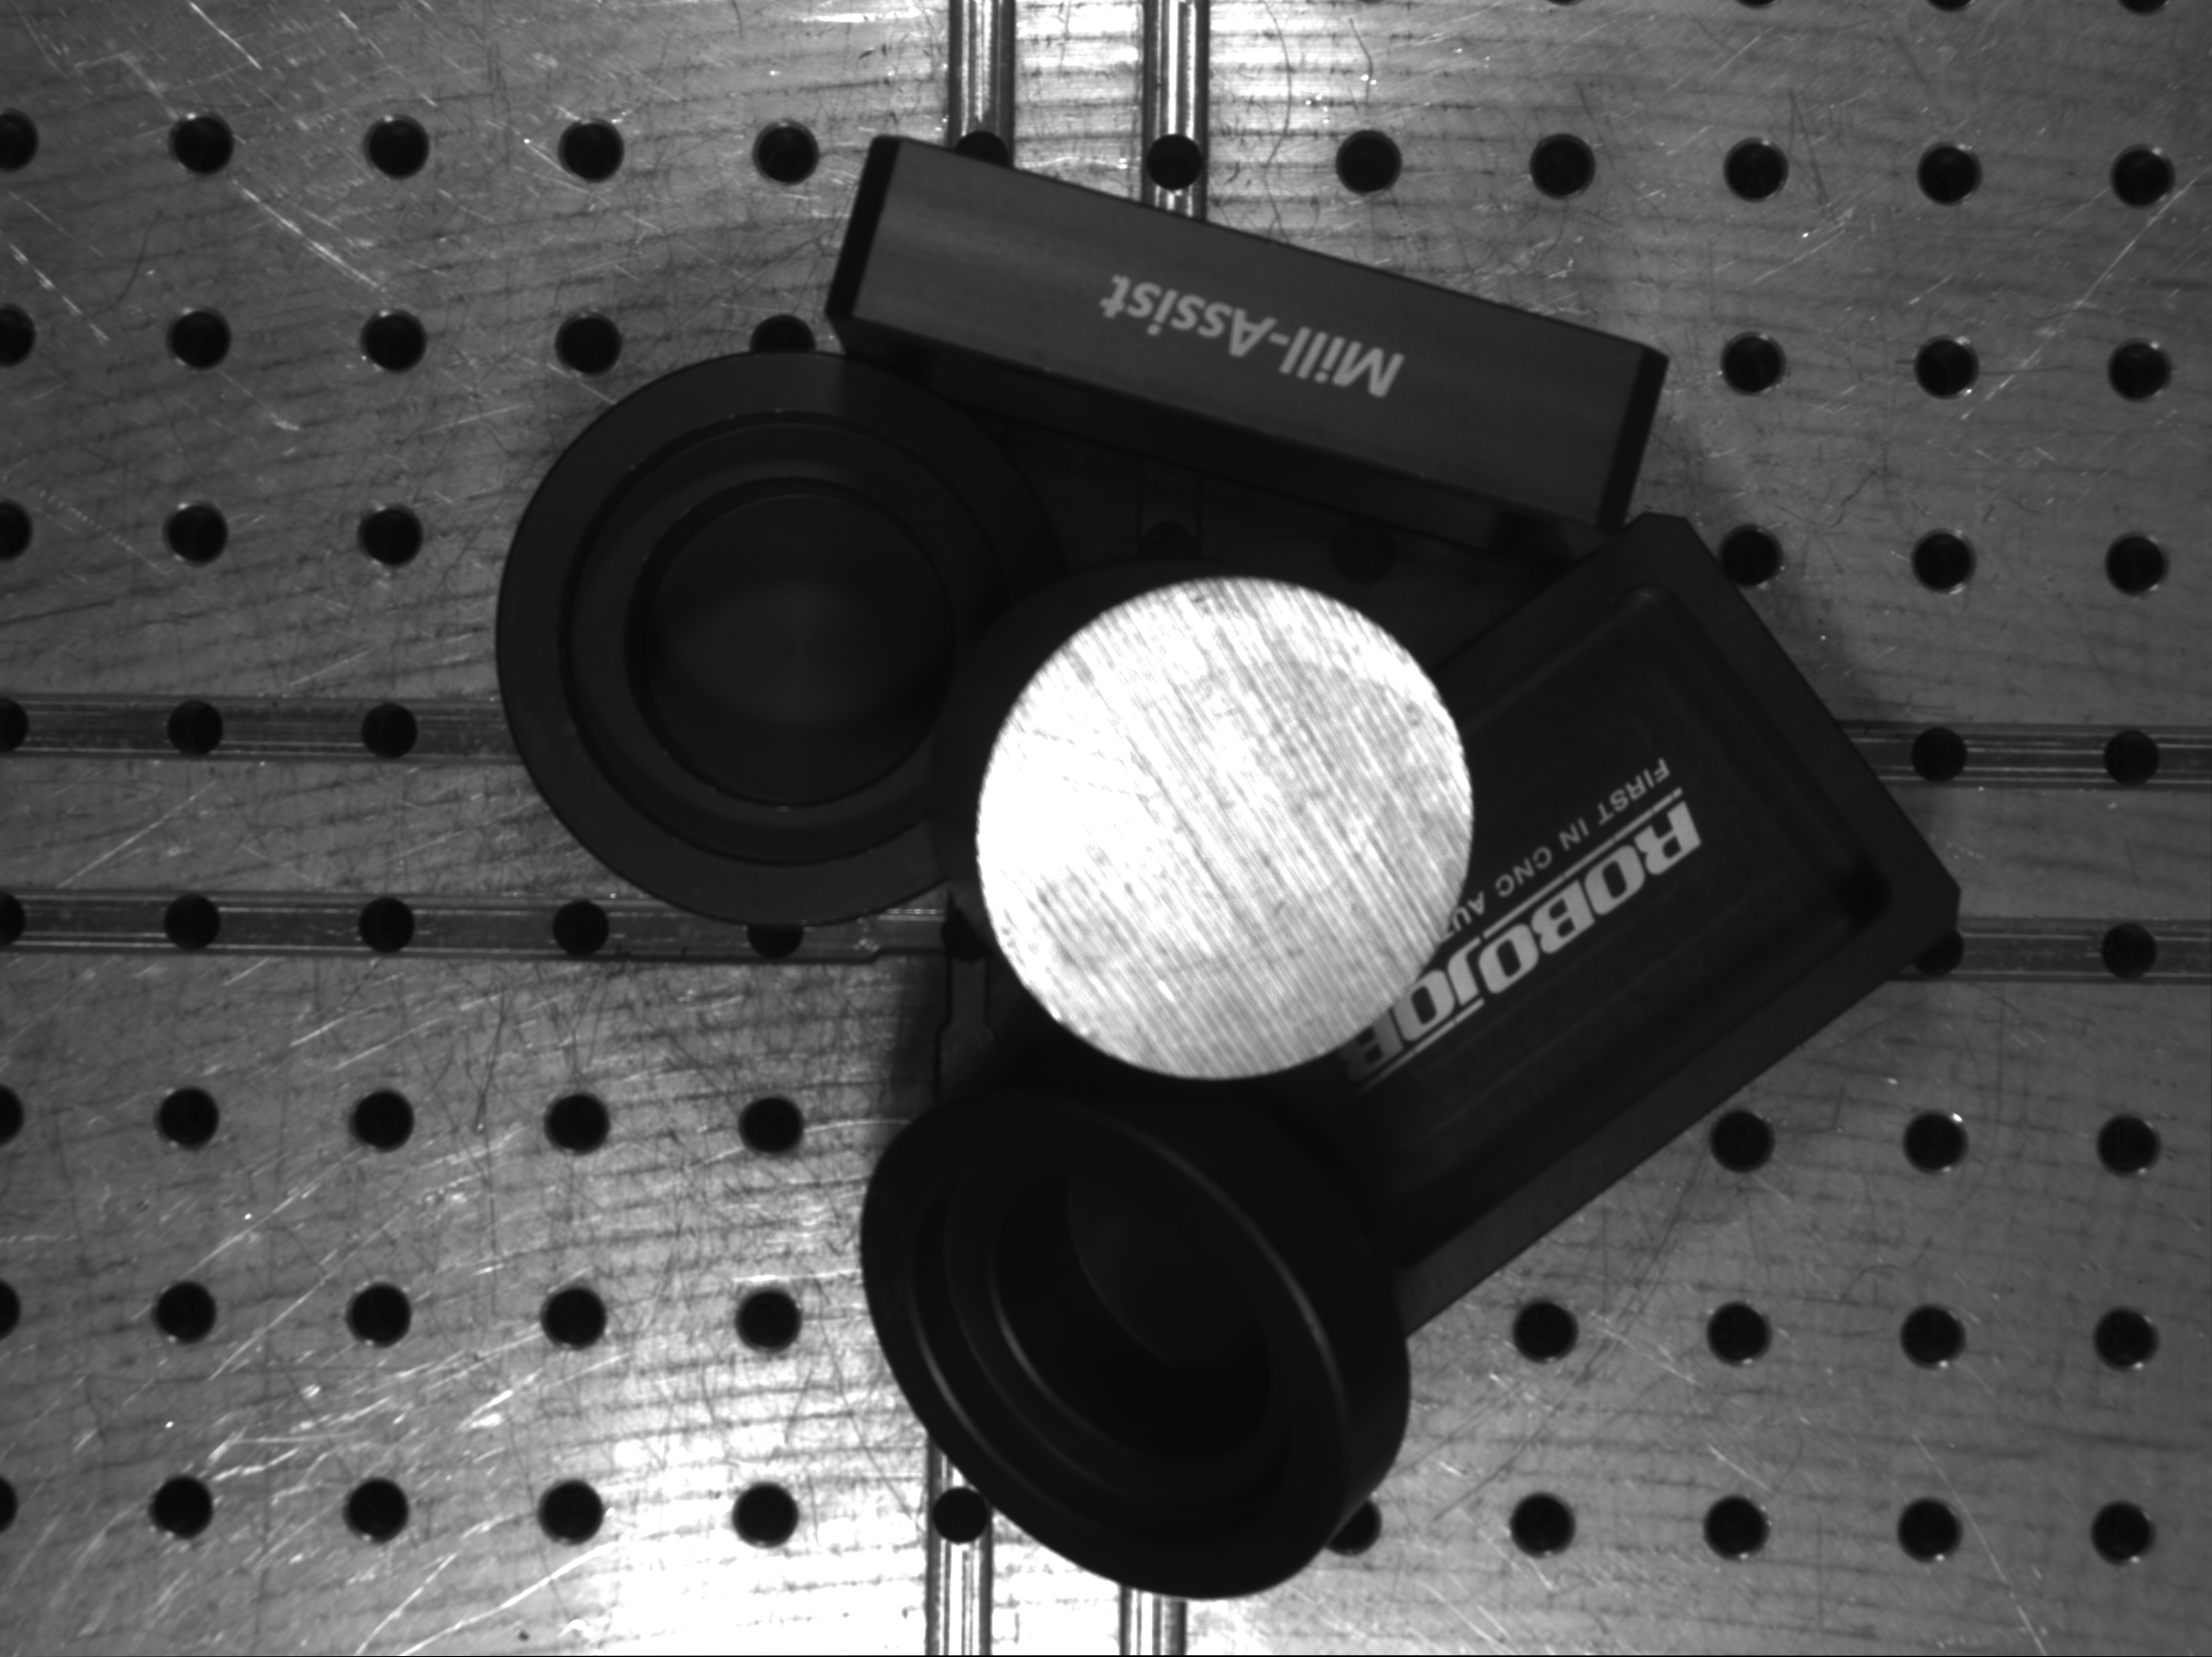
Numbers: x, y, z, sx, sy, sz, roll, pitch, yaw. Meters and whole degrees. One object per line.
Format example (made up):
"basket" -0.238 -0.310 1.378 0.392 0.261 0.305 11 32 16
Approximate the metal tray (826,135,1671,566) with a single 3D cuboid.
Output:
"metal tray" 0.022 -0.077 0.615 0.130 0.090 0.030 15 90 0

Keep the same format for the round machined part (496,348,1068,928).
"round machined part" -0.054 -0.032 0.639 0.098 0.042 0.098 0 90 0

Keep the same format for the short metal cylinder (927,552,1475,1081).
"short metal cylinder" 0.014 -0.003 0.598 0.080 0.050 0.080 -2 99 -12

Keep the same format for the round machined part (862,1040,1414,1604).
"round machined part" 0.010 0.079 0.621 0.098 0.042 0.098 18 125 28

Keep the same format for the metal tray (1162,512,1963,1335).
"metal tray" 0.072 0.017 0.645 0.130 0.030 0.090 -37 90 0
